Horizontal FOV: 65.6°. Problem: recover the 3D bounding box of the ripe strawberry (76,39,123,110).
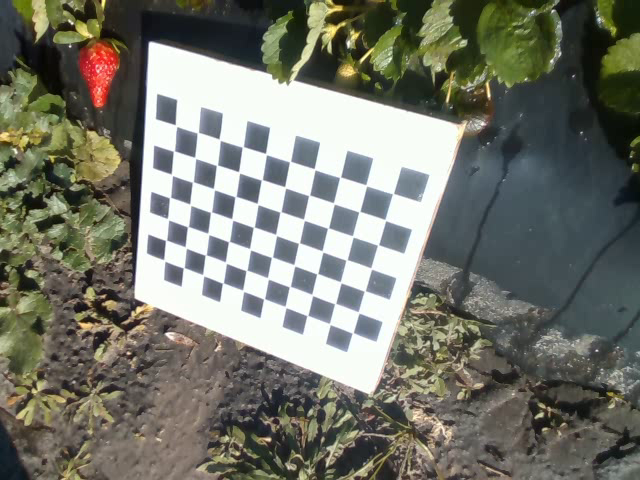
[{"bbox_3d":[-0.217,-0.160,0.483,0.048,0.069,0.040,1,11,22],"label":"ripe strawberry"}]
